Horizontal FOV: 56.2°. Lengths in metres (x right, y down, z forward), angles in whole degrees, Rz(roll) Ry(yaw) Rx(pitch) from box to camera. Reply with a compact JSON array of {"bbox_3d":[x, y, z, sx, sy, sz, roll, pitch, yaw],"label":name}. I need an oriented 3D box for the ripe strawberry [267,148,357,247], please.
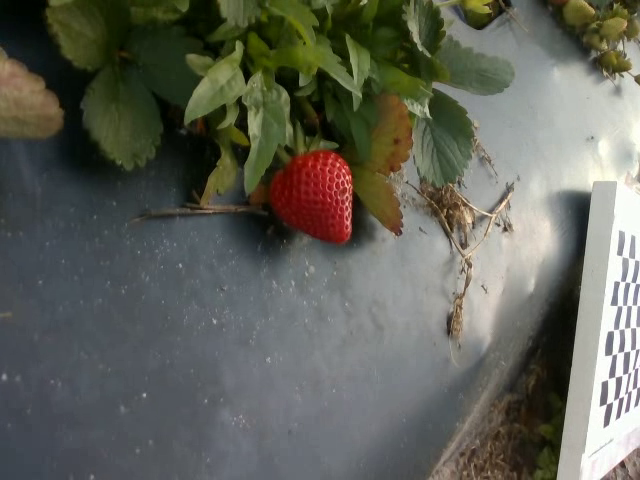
[{"bbox_3d":[-0.003,-0.017,0.275,0.043,0.051,0.042,-17,-12,-48],"label":"ripe strawberry"}]
